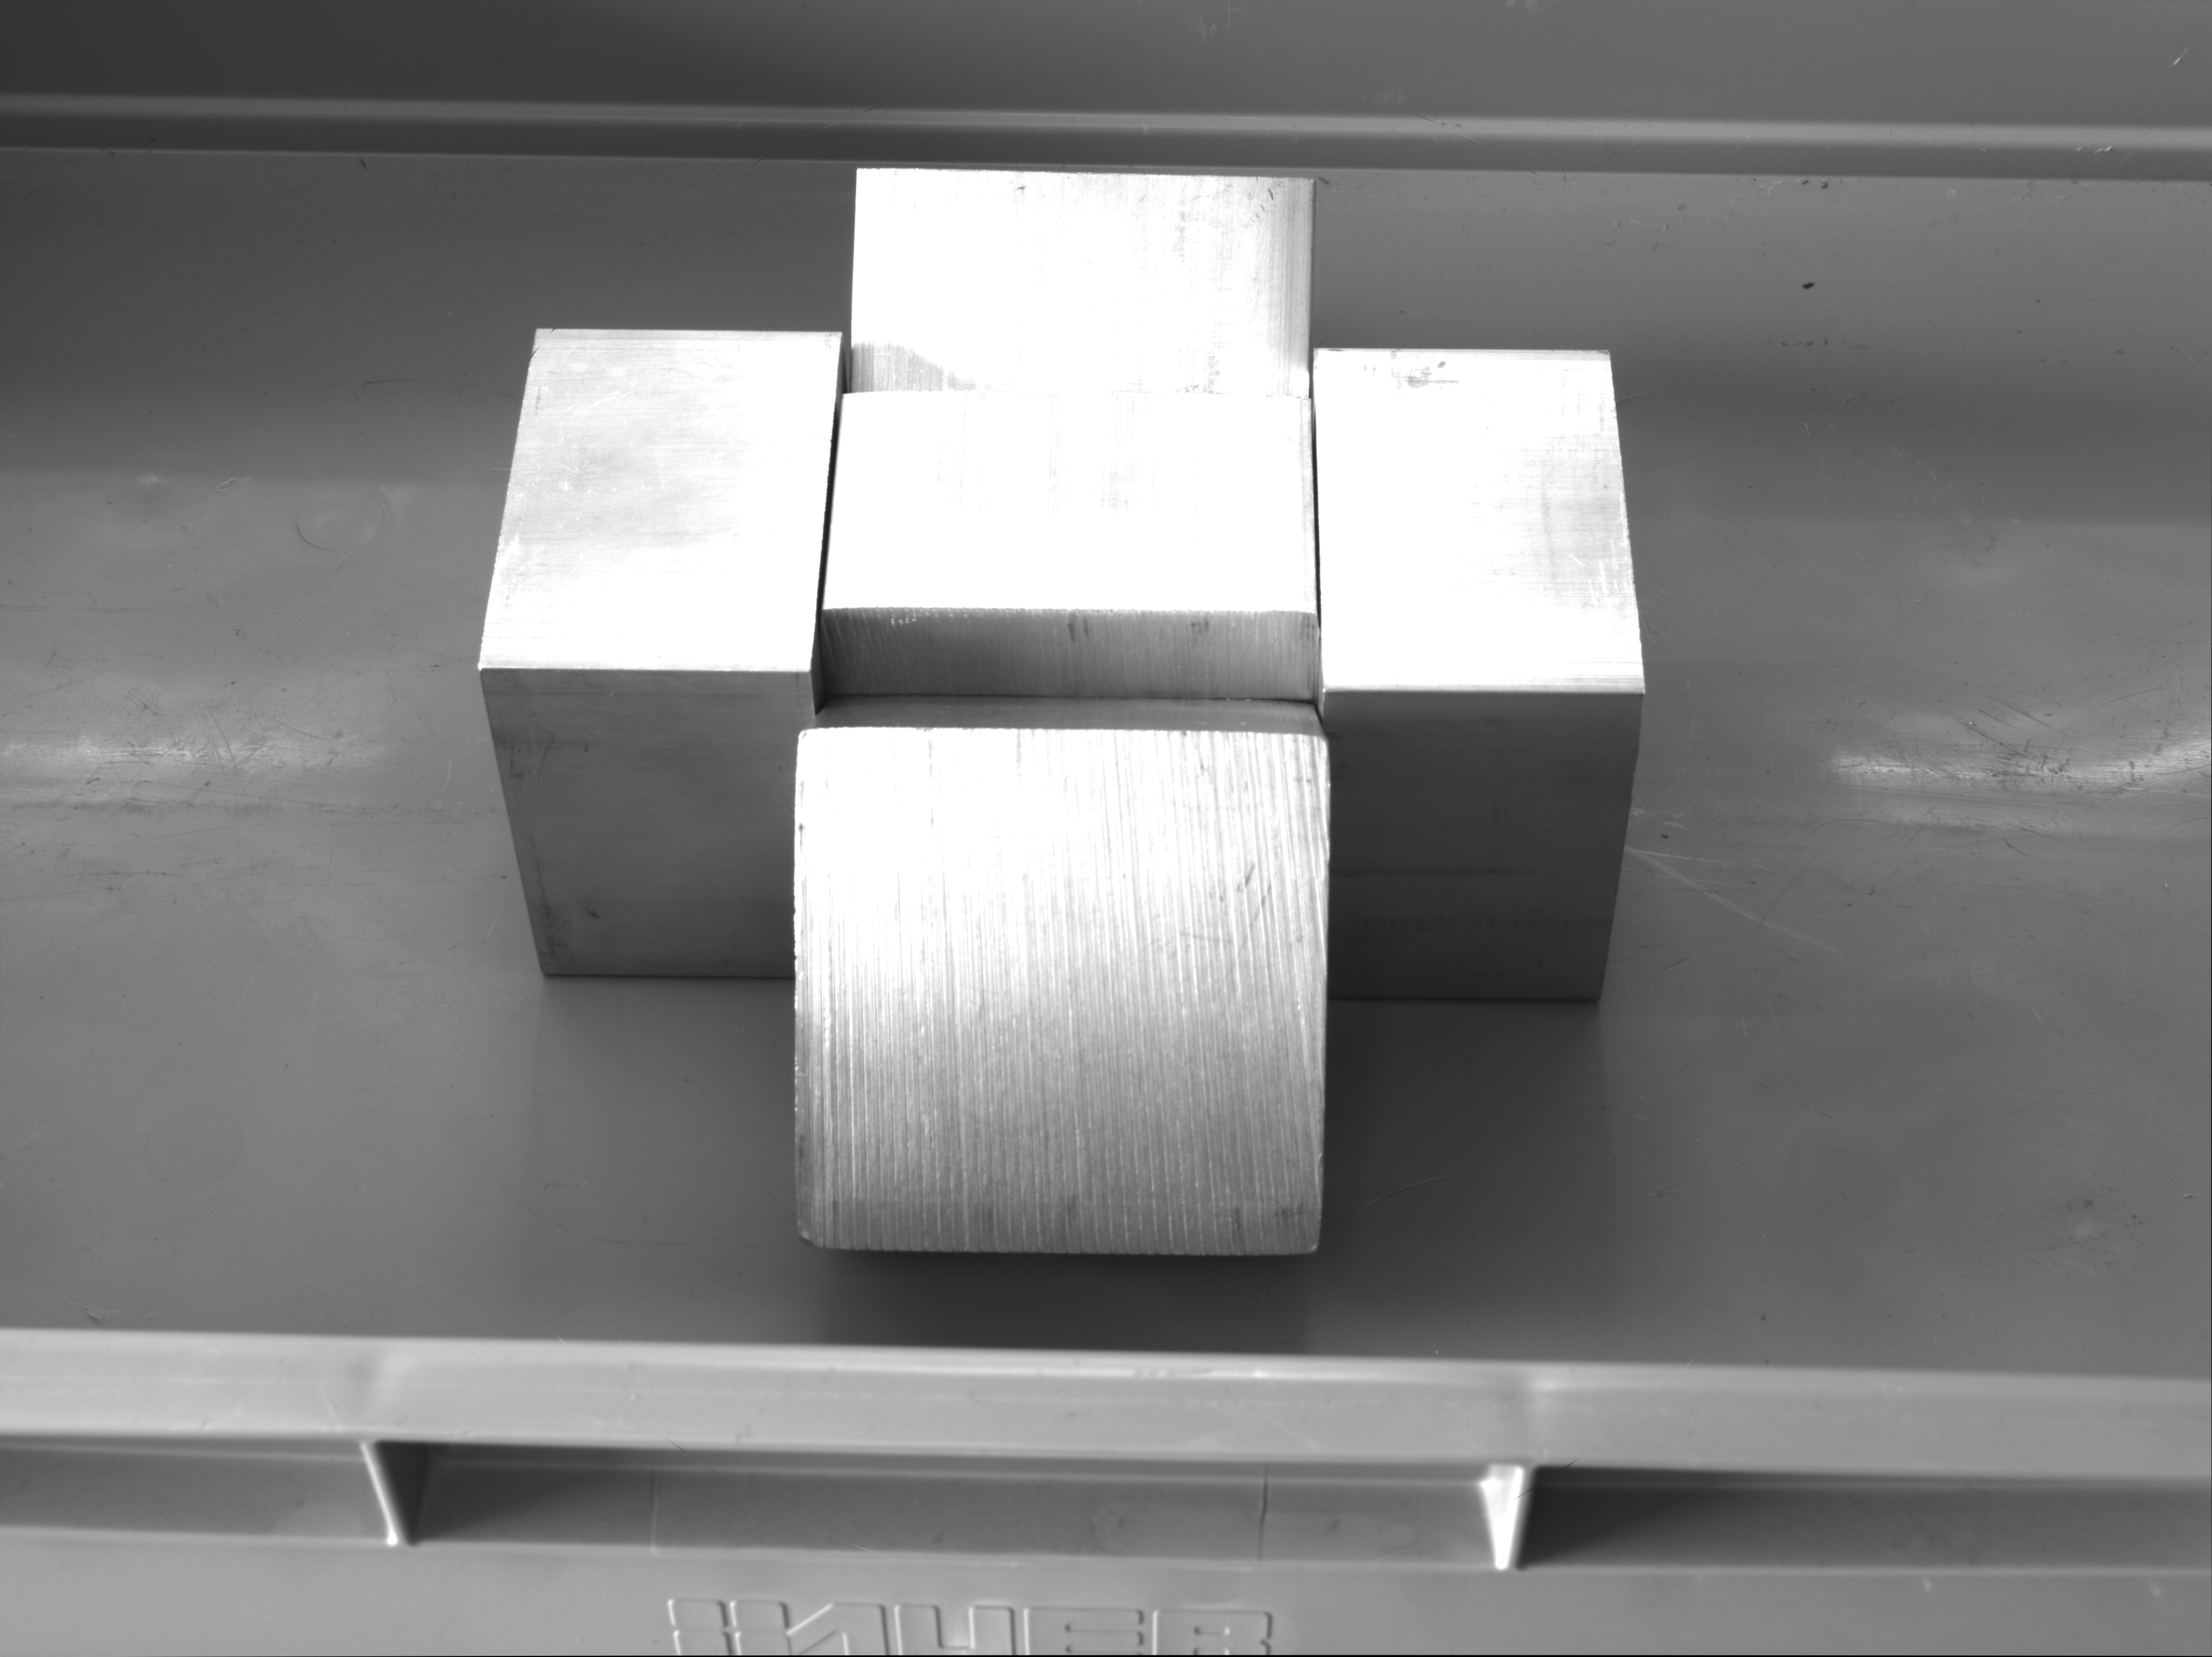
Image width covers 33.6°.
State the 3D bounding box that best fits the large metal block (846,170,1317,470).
[{"bbox_3d":[-0.003,-0.086,0.669,0.080,0.080,0.050,1,87,1],"label":"large metal block"}]

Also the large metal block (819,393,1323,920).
[{"bbox_3d":[-0.005,-0.028,0.628,0.080,0.080,0.050,1,50,1],"label":"large metal block"}]

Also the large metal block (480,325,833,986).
[{"bbox_3d":[-0.072,-0.029,0.630,0.050,0.080,0.080,0,50,1],"label":"large metal block"}]

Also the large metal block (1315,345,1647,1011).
[{"bbox_3d":[0.060,-0.025,0.626,0.050,0.080,0.080,1,50,1],"label":"large metal block"}]

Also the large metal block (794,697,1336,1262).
[{"bbox_3d":[-0.006,0.022,0.577,0.080,0.080,0.050,1,8,0],"label":"large metal block"}]
